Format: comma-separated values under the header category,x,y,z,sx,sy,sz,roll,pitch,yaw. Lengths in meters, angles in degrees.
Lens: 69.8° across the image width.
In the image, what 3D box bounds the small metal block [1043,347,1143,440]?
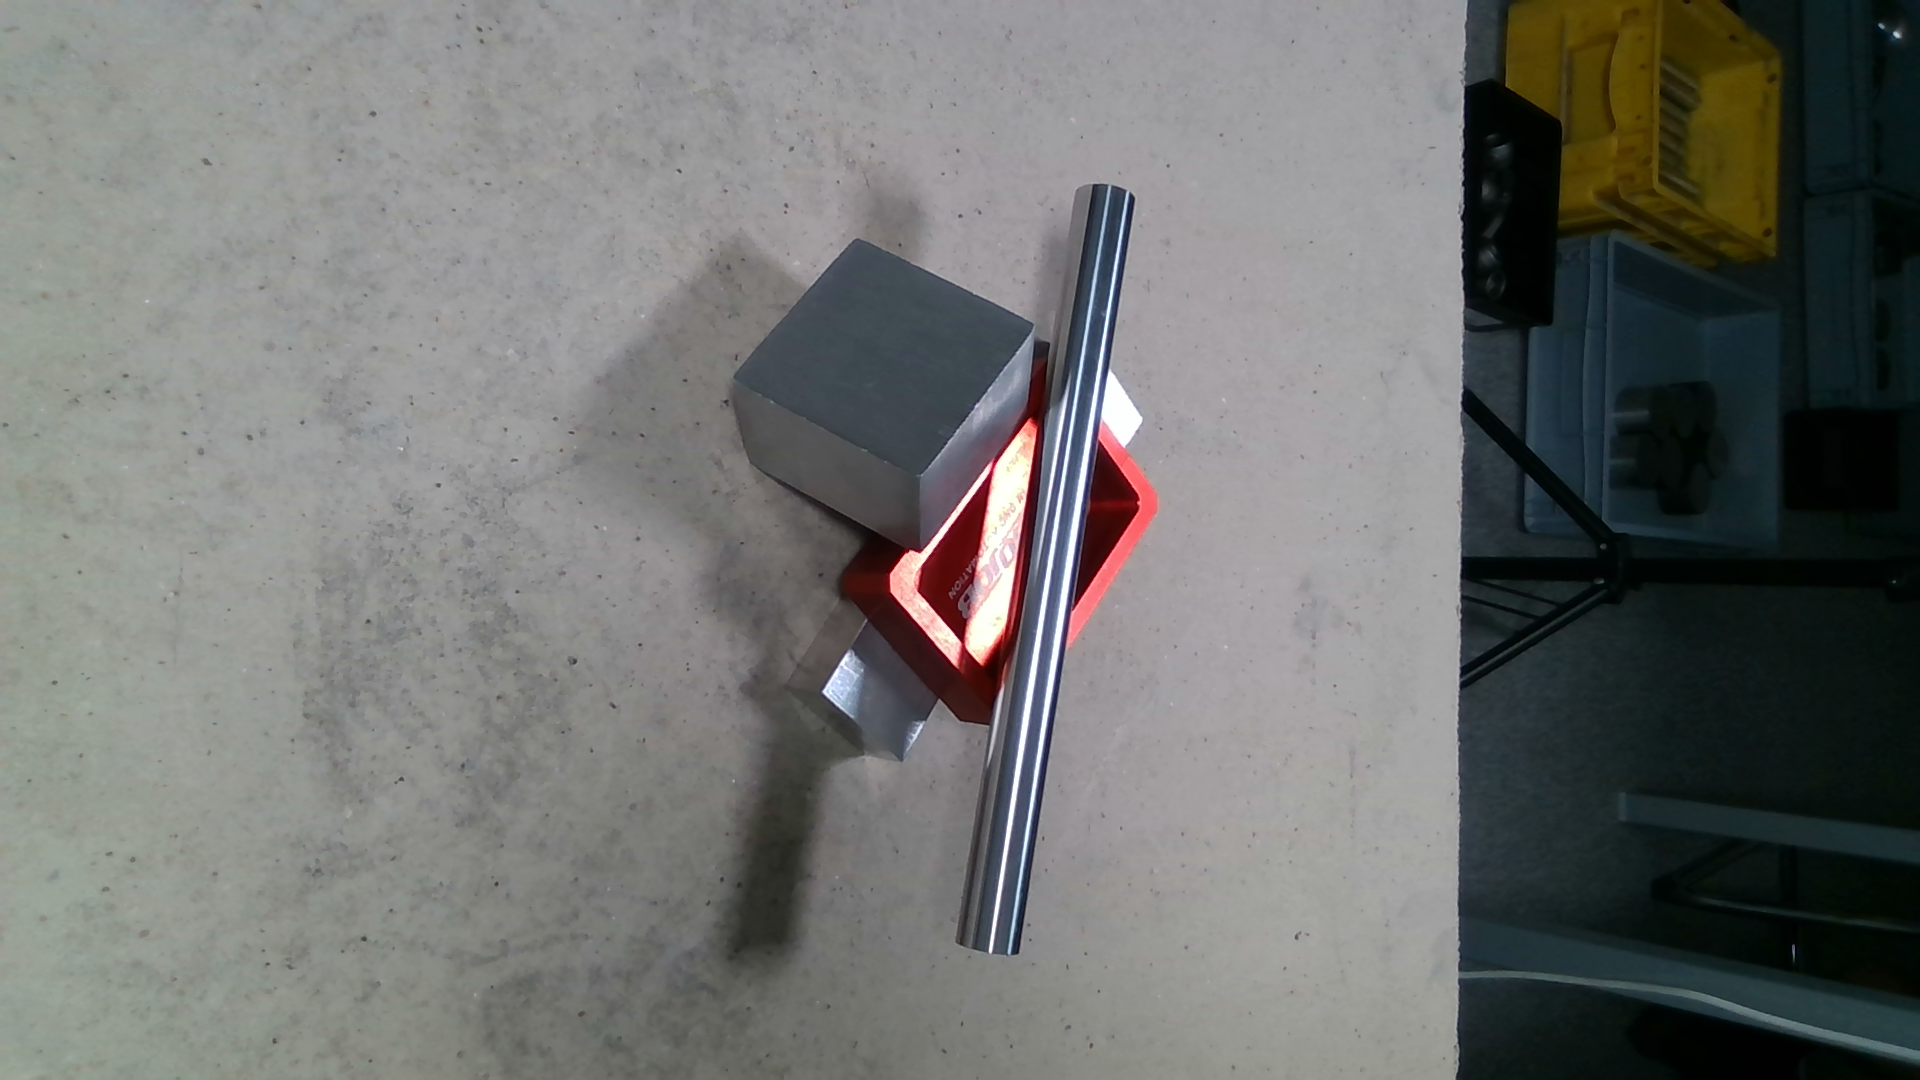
category,x,y,z,sx,sy,sz,roll,pitch,yaw
small metal block,0.050,-0.056,0.625,0.050,0.025,0.050,52,59,-27

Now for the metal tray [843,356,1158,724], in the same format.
category,x,y,z,sx,sy,sz,roll,pitch,yaw
metal tray,0.021,-0.001,0.564,0.090,0.030,0.130,51,60,-28

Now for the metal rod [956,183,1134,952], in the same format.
category,x,y,z,sx,sy,sz,roll,pitch,yaw
metal rod,0.035,0.006,0.541,0.025,0.025,0.300,16,80,-39

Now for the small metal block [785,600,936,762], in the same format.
category,x,y,z,sx,sy,sz,roll,pitch,yaw
small metal block,-0.034,0.053,0.555,0.050,0.025,0.050,46,62,-30

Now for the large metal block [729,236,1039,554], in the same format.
category,x,y,z,sx,sy,sz,roll,pitch,yaw
large metal block,-0.027,-0.055,0.514,0.080,0.080,0.050,-55,163,-26
